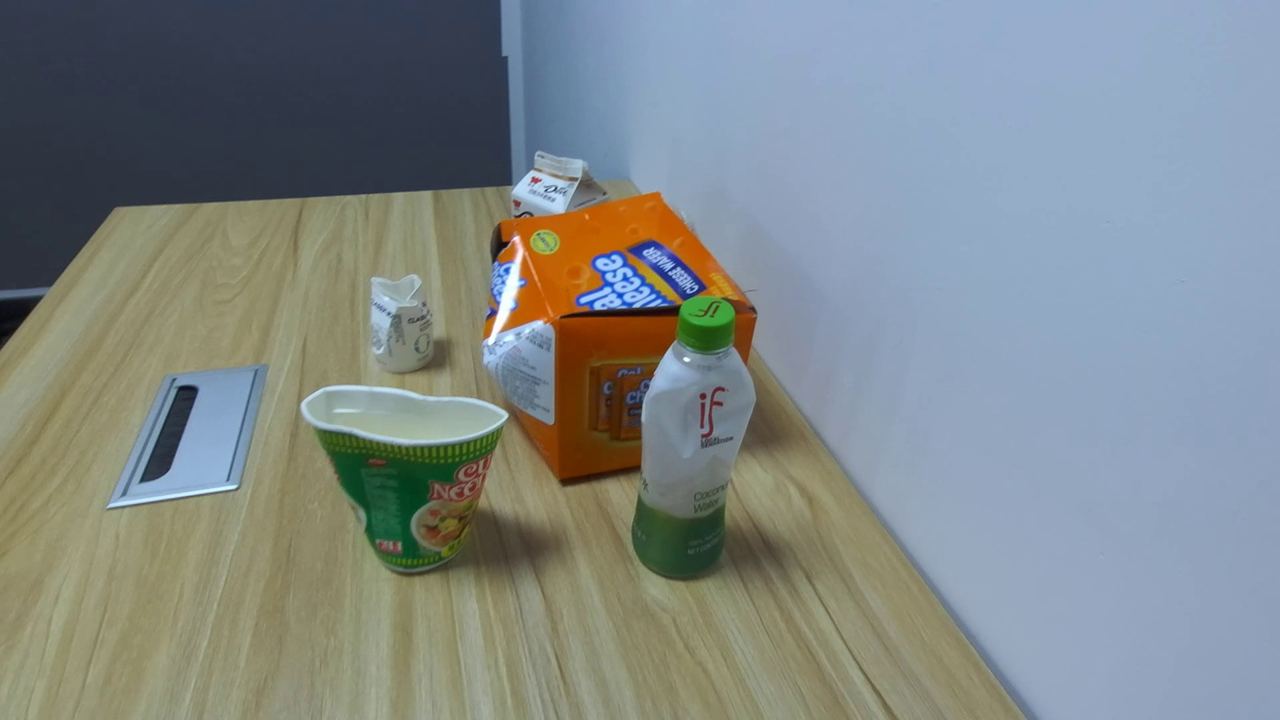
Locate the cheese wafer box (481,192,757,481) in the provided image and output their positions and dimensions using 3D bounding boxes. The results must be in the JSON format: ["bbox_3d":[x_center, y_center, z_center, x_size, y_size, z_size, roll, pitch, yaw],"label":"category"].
[{"bbox_3d":[-0.035,-0.033,0.589,0.192,0.145,0.218,-9,37,-17],"label":"cheese wafer box"}]

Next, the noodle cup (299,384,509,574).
[{"bbox_3d":[-0.148,0.074,0.455,0.114,0.111,0.070,18,38,21],"label":"noodle cup"}]

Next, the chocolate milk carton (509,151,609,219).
[{"bbox_3d":[-0.080,-0.143,0.735,0.075,0.148,0.074,27,43,29],"label":"chocolate milk carton"}]

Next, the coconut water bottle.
[{"bbox_3d":[0.031,0.049,0.433,0.067,0.187,0.067,3,34,-2],"label":"coconut water bottle"}]

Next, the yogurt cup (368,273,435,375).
[{"bbox_3d":[-0.216,-0.033,0.639,0.055,0.072,0.054,-2,36,-12],"label":"yogurt cup"}]
